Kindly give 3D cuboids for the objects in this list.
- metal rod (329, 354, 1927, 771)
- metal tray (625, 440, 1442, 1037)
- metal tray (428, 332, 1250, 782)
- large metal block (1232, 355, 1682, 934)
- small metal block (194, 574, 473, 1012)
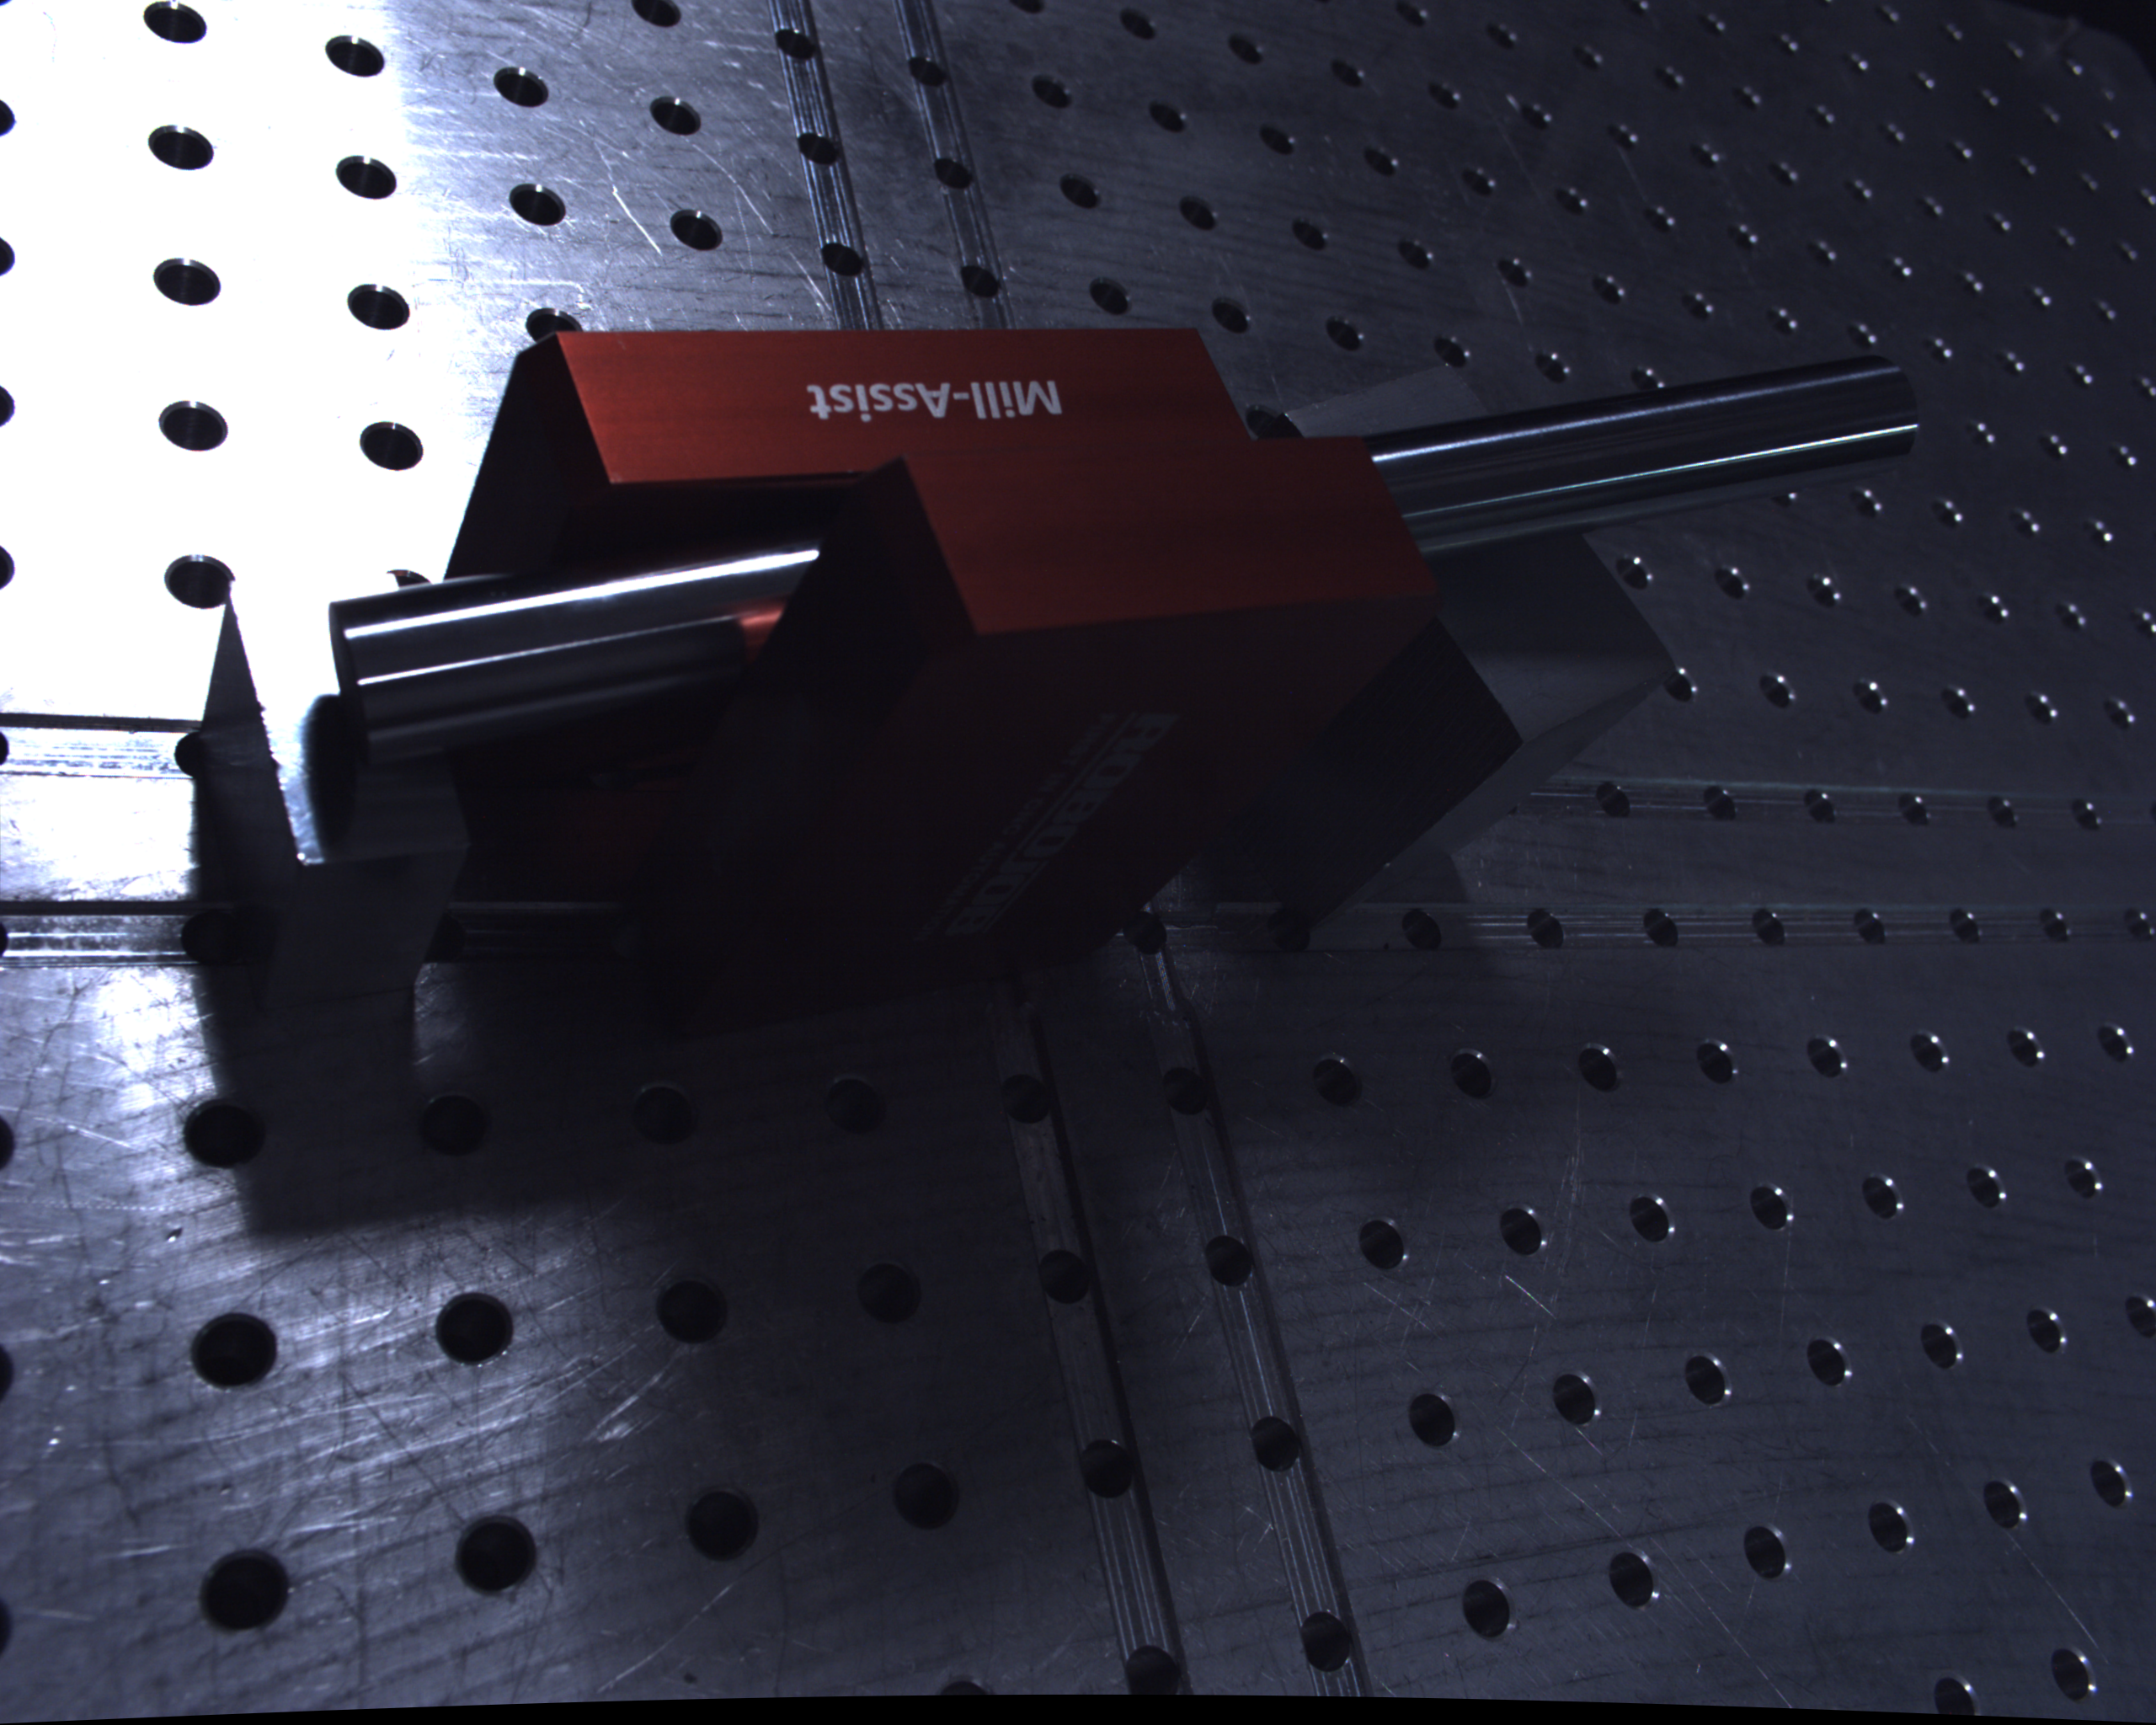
[{"bbox_3d":[0.029,-0.058,0.364,0.303,0.025,0.025,-14,69,-24],"label":"metal rod"},{"bbox_3d":[-0.012,-0.017,0.346,0.091,0.129,0.030,-10,68,-33],"label":"metal tray"},{"bbox_3d":[-0.042,-0.056,0.378,0.131,0.090,0.030,-9,68,-33],"label":"metal tray"},{"bbox_3d":[0.062,-0.044,0.434,0.050,0.080,0.080,-25,76,-37],"label":"large metal block"},{"bbox_3d":[-0.121,-0.011,0.334,0.025,0.050,0.050,-9,66,-32],"label":"small metal block"}]
